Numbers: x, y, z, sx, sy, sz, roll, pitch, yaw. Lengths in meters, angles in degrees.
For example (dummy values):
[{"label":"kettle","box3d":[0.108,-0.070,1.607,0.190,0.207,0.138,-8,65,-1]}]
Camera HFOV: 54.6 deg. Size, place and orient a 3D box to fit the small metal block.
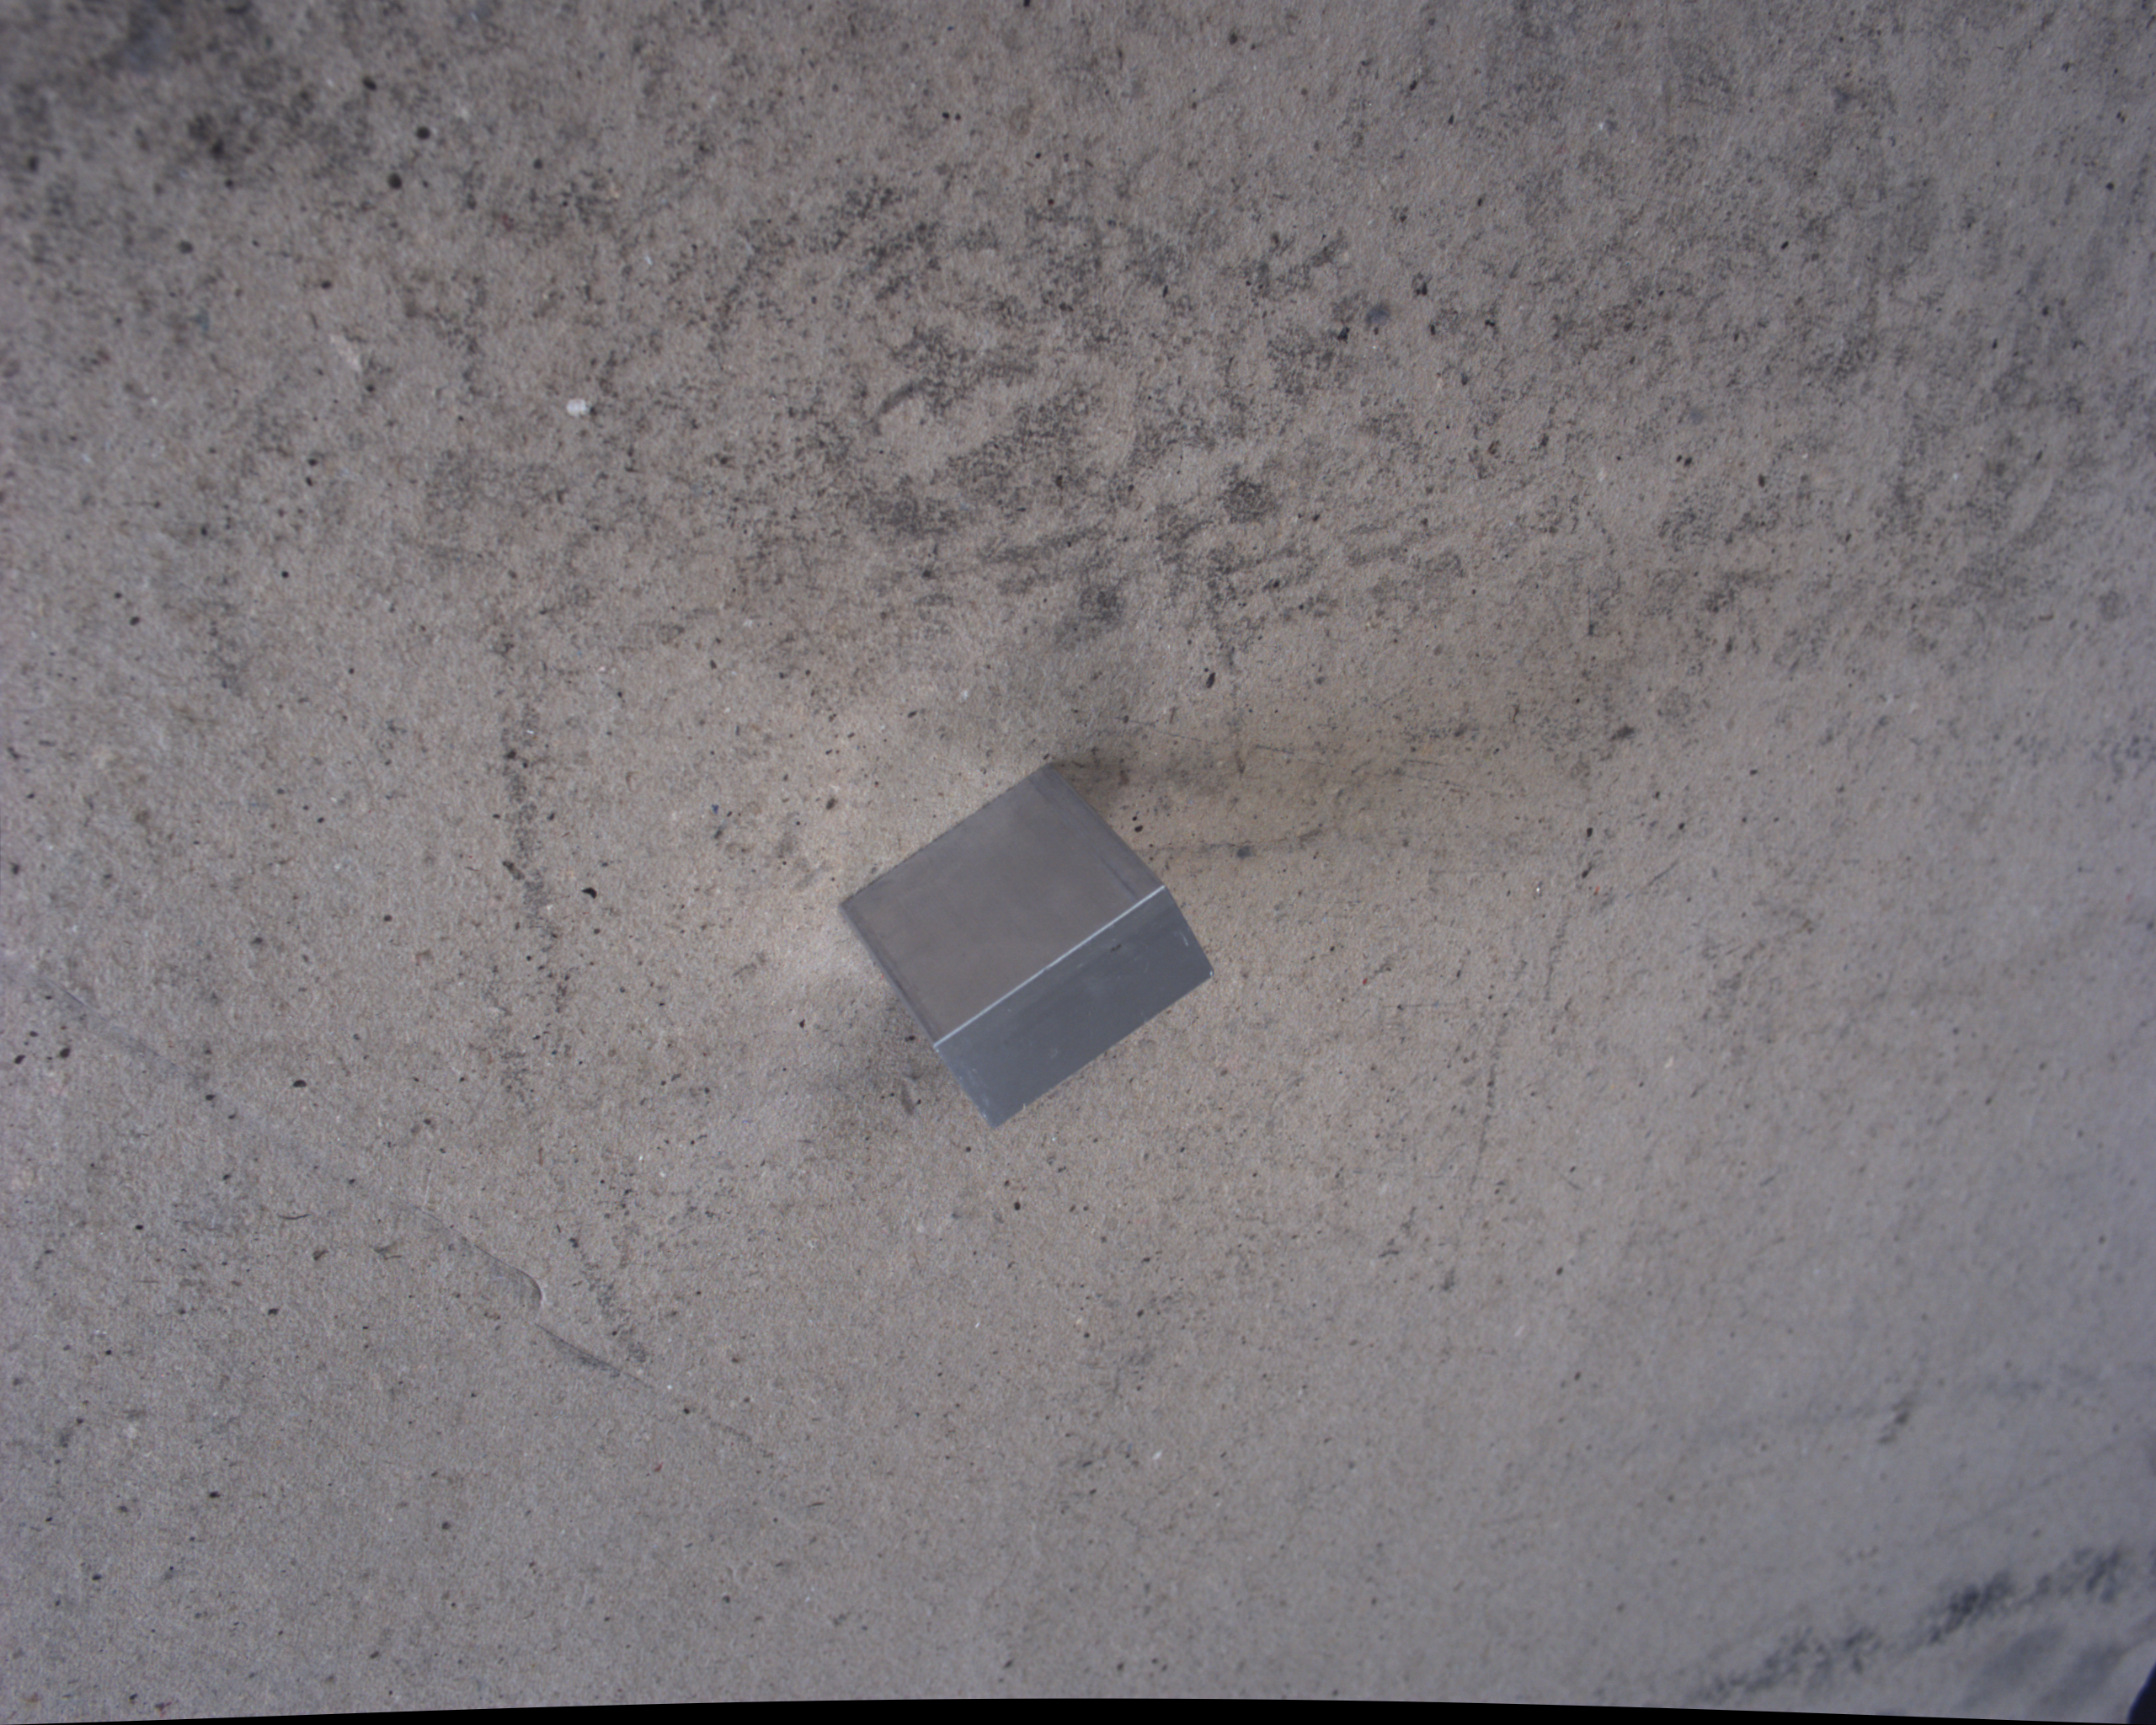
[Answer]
[{"label":"small metal block","box3d":[-0.011,0.015,0.395,0.050,0.050,0.025,-35,129,-6]}]
